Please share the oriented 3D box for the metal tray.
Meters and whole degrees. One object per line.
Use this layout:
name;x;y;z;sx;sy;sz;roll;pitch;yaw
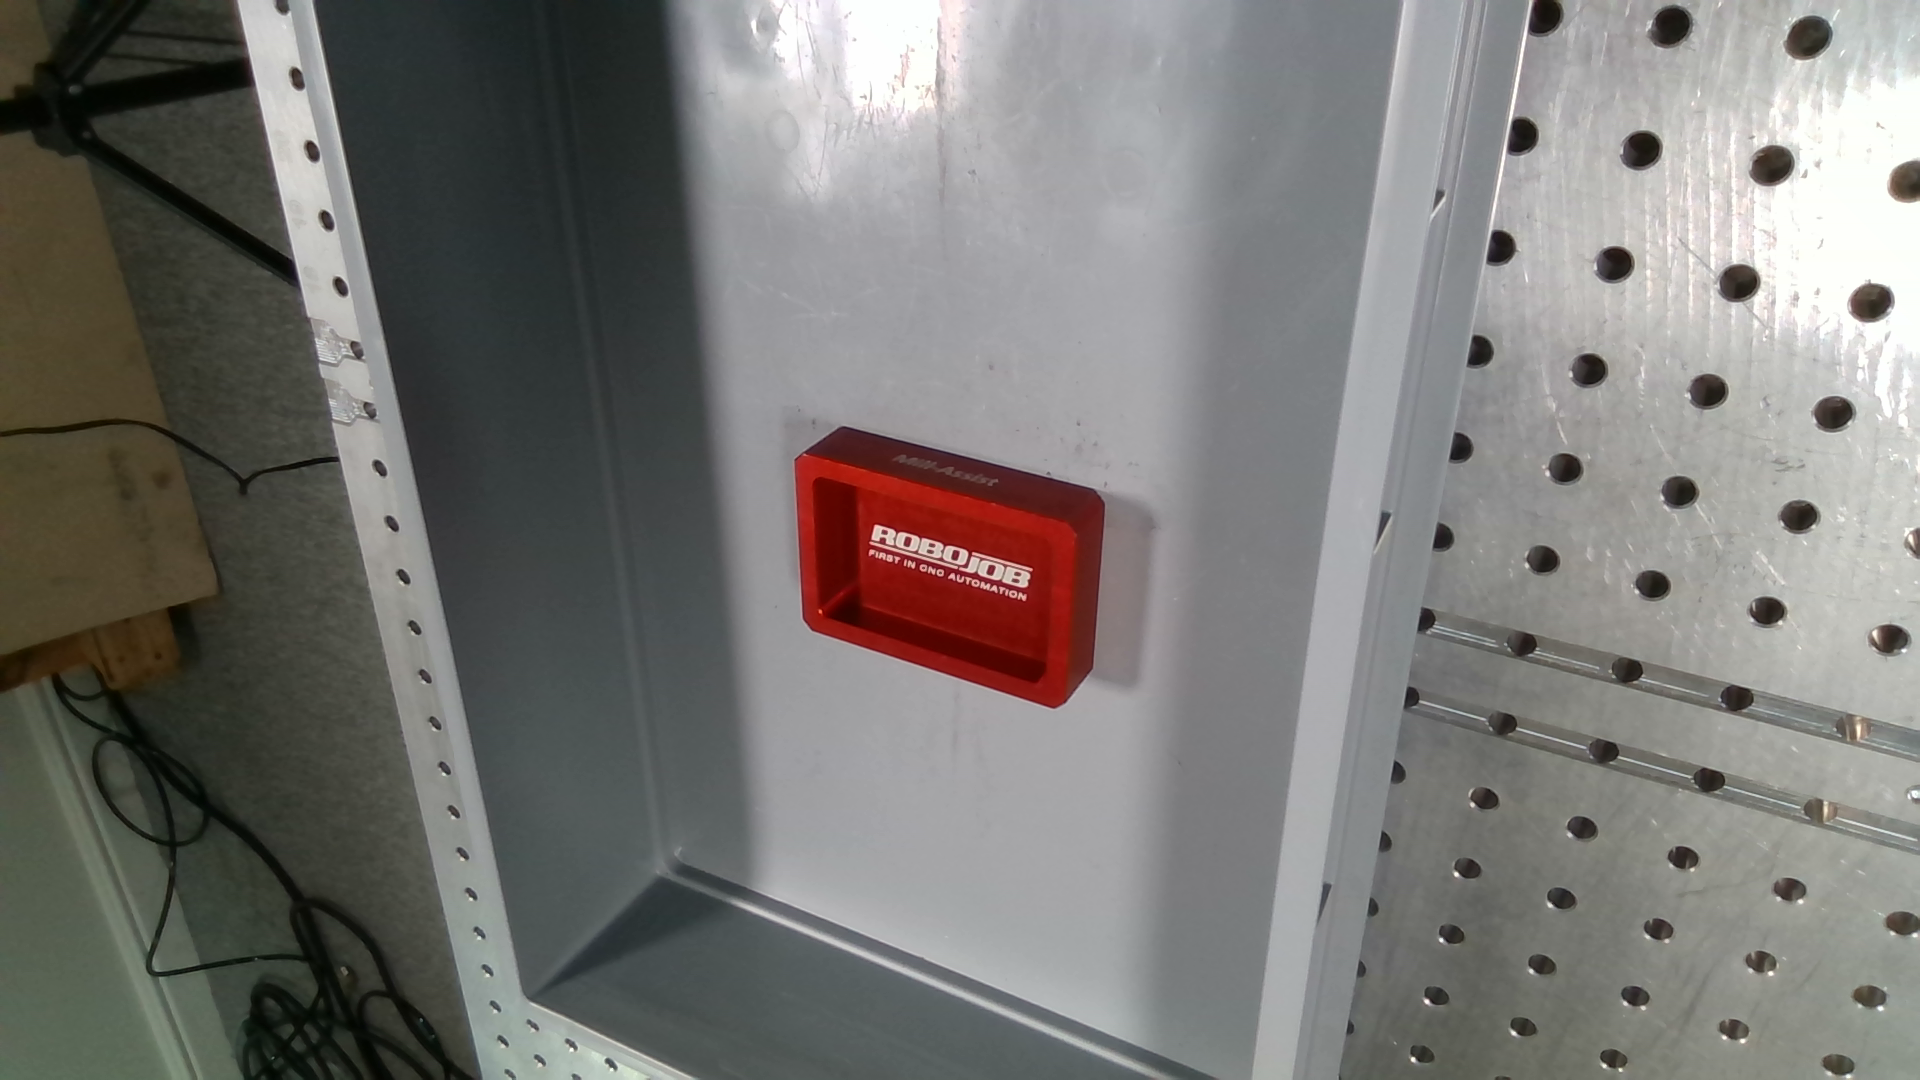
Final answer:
metal tray;-0.007;0.011;0.583;0.130;0.030;0.090;16;123;24
